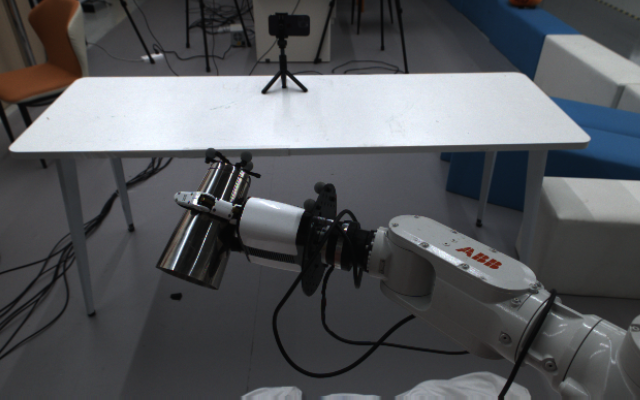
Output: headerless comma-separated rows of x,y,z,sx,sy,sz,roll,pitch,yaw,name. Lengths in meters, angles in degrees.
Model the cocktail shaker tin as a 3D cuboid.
-0.161,0.034,0.703,0.093,0.093,0.170,13,70,15,cocktail shaker tin
